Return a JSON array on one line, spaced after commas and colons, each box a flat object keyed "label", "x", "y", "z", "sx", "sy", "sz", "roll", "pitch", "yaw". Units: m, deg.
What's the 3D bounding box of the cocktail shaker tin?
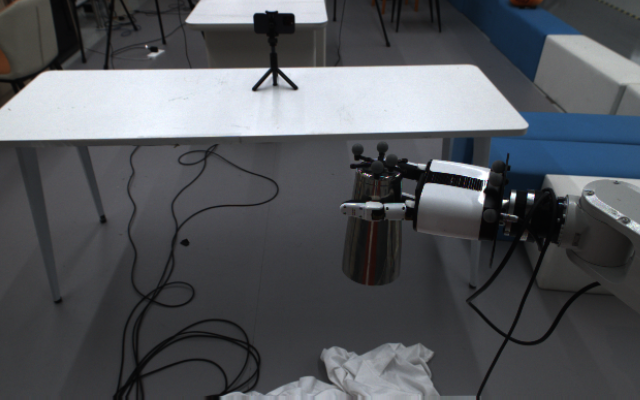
[{"label": "cocktail shaker tin", "x": 0.084, "y": 0.028, "z": 0.728, "sx": 0.093, "sy": 0.170, "sz": 0.093, "roll": 1, "pitch": 27, "yaw": -1}]
